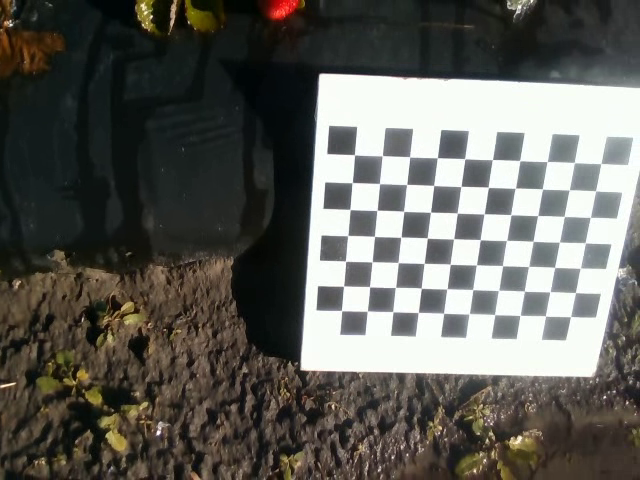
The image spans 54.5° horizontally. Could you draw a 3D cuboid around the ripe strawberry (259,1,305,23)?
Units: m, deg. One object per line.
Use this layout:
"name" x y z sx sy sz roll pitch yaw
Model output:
"ripe strawberry" -0.029 -0.152 0.400 0.039 0.040 0.039 -5 39 8
